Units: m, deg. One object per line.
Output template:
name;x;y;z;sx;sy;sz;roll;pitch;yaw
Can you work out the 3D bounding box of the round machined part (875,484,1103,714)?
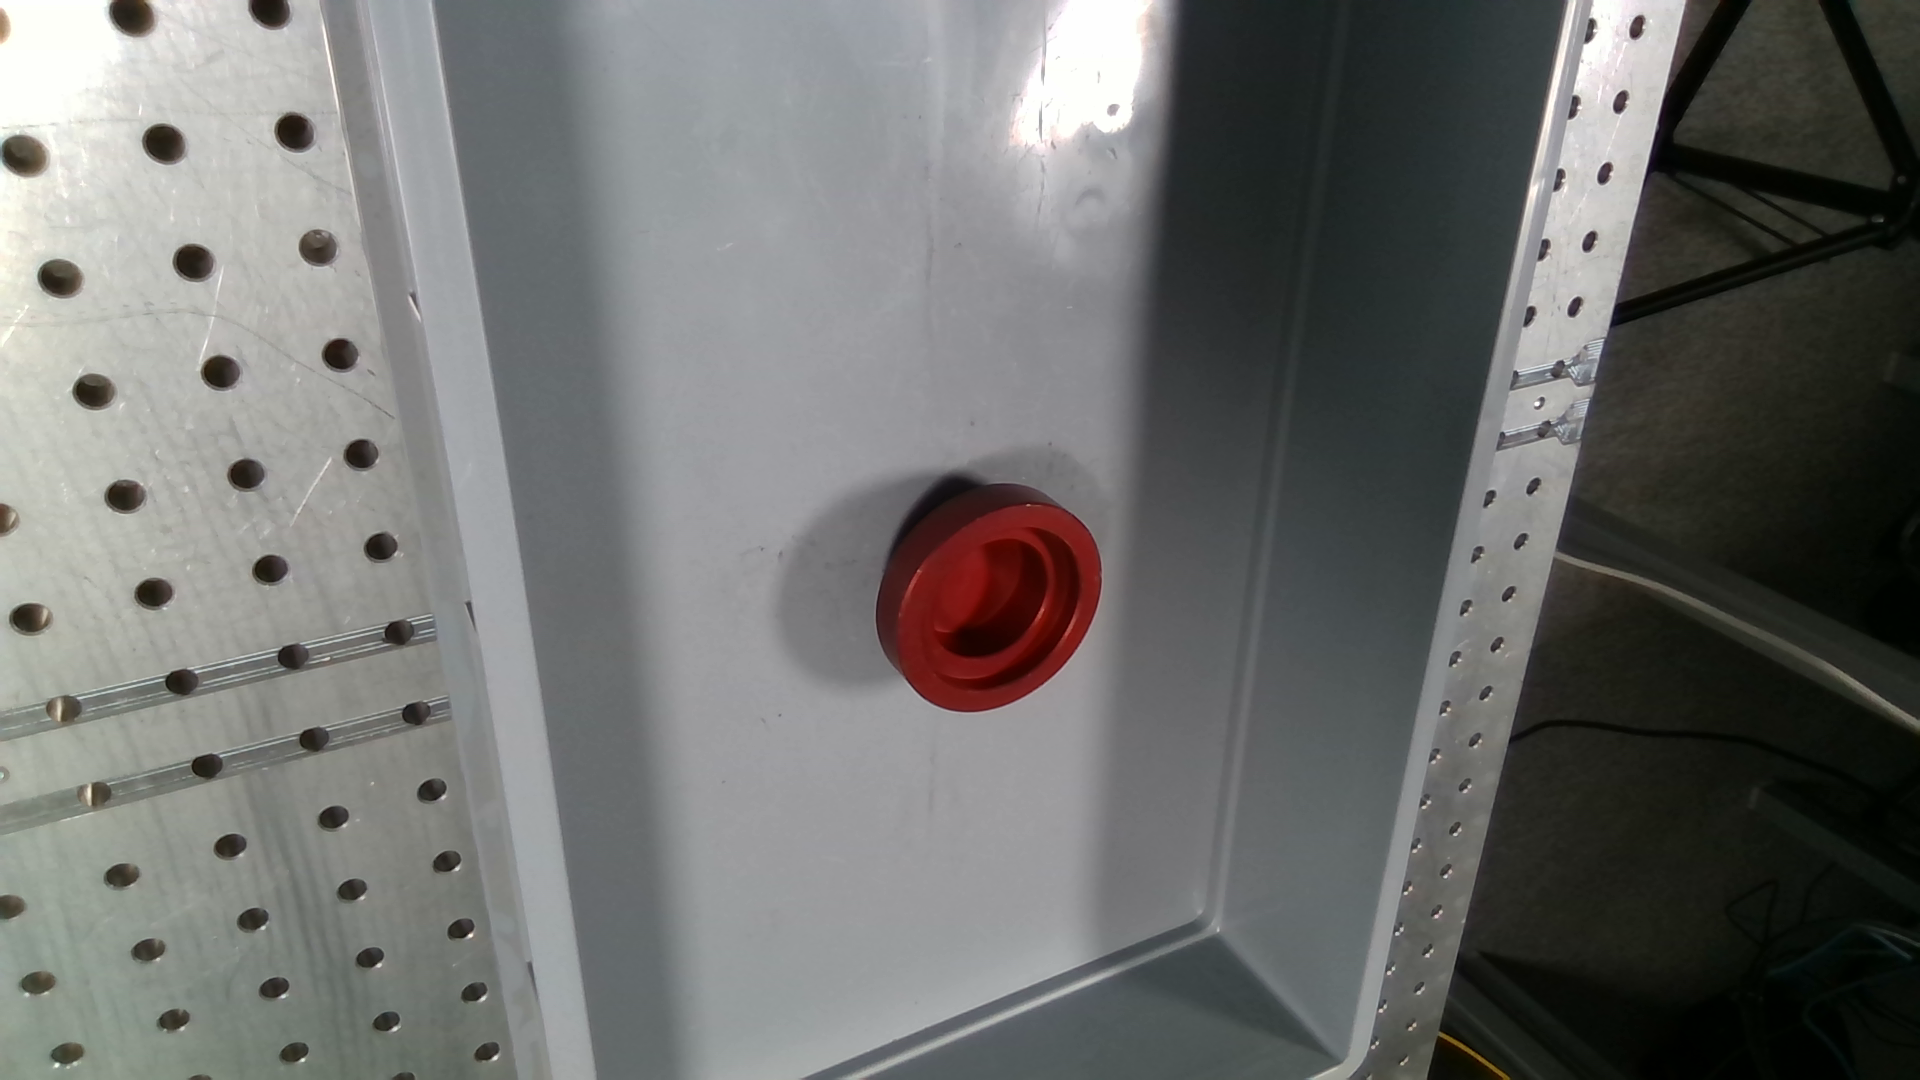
round machined part;0.008;0.021;0.582;0.098;0.042;0.098;-14;122;-25
